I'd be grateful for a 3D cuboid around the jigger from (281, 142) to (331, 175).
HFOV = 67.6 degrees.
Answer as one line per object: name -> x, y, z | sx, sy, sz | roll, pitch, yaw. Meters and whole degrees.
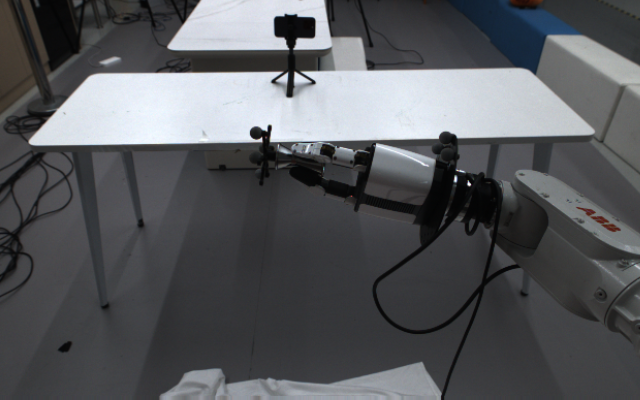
jigger -> -0.019, -0.062, 0.687 | 0.071, 0.043, 0.043 | 5, 35, 2
